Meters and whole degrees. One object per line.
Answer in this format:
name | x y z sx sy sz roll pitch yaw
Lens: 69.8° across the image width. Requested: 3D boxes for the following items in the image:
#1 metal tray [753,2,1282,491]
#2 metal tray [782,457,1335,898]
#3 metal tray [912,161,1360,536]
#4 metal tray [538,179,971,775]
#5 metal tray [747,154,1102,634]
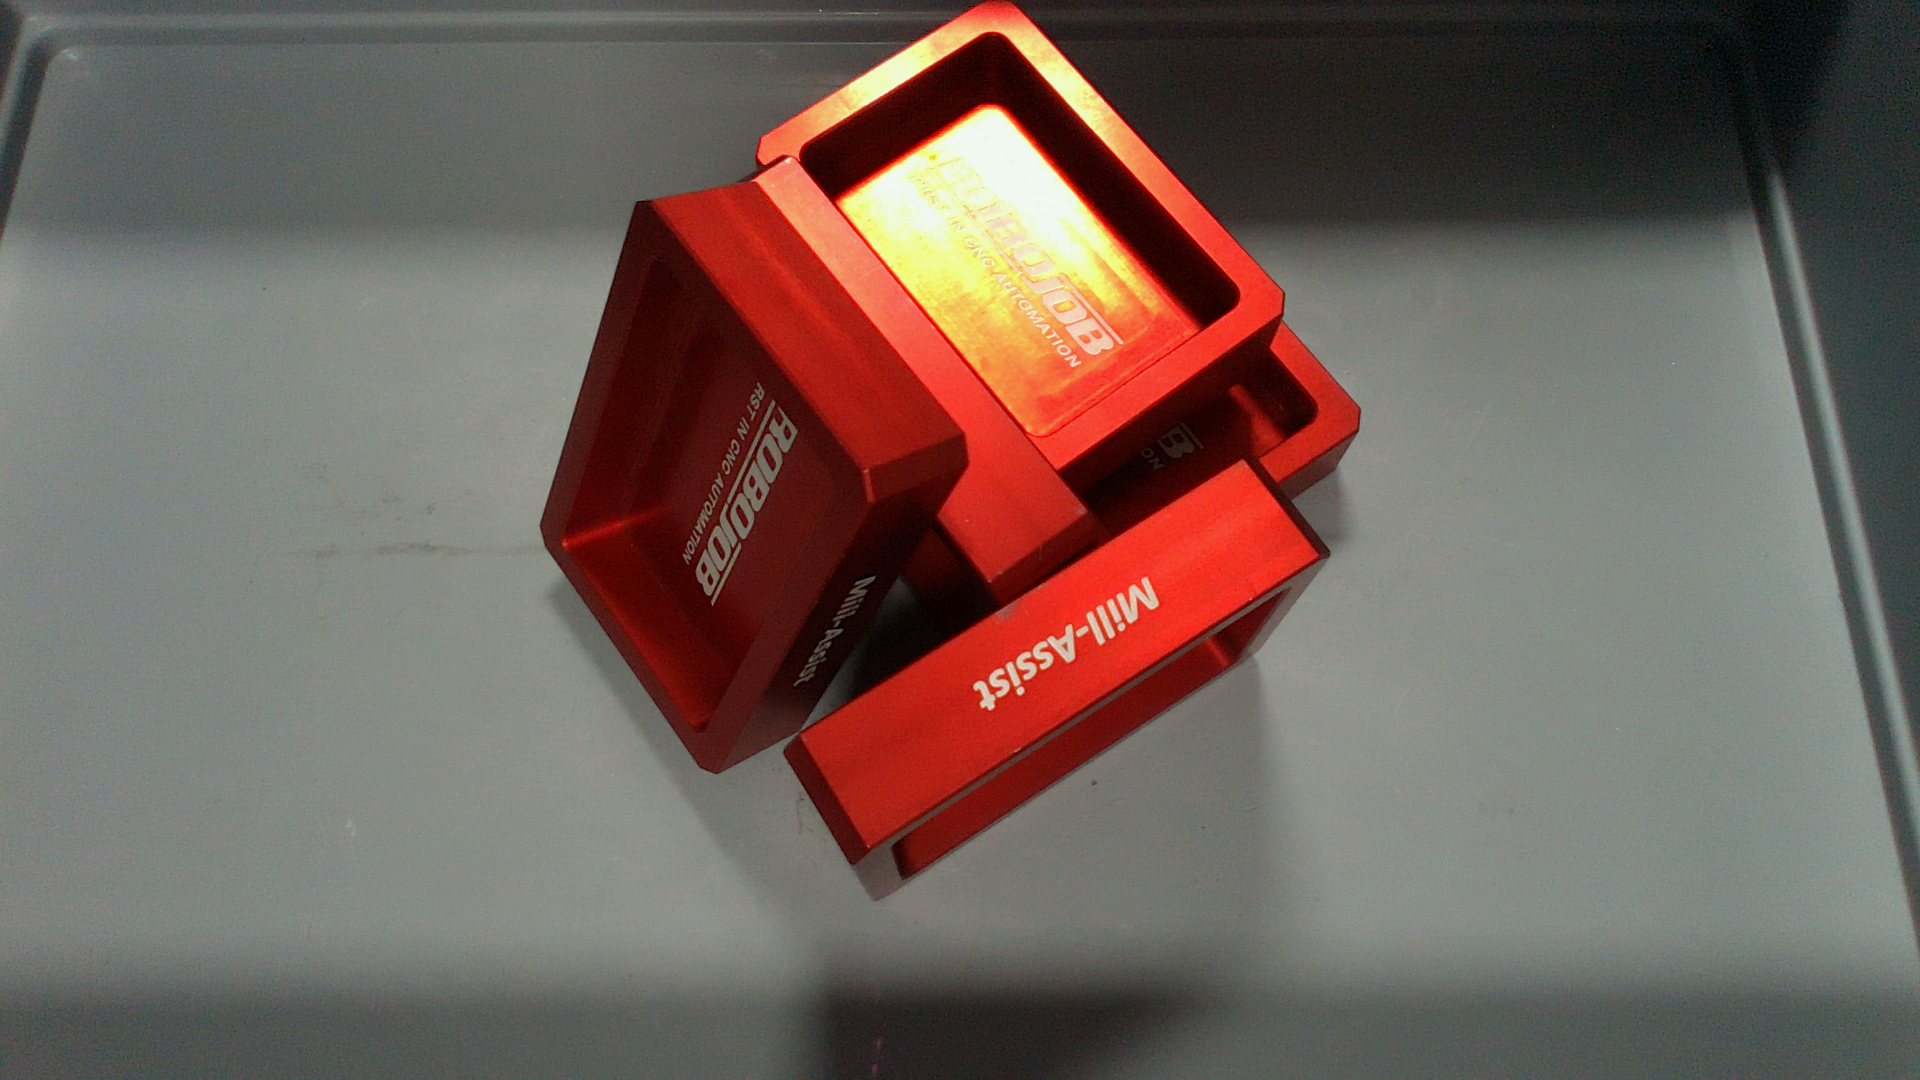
metal tray | 0.014 -0.081 0.388 0.090 0.030 0.130 -35 73 -11
metal tray | 0.024 0.038 0.345 0.130 0.090 0.030 -31 73 -11
metal tray | 0.043 -0.055 0.412 0.090 0.030 0.130 -33 72 -10
metal tray | -0.058 -0.011 0.343 0.030 0.130 0.090 -25 68 -41
metal tray | -0.017 -0.029 0.368 0.030 0.090 0.130 -35 74 -12
